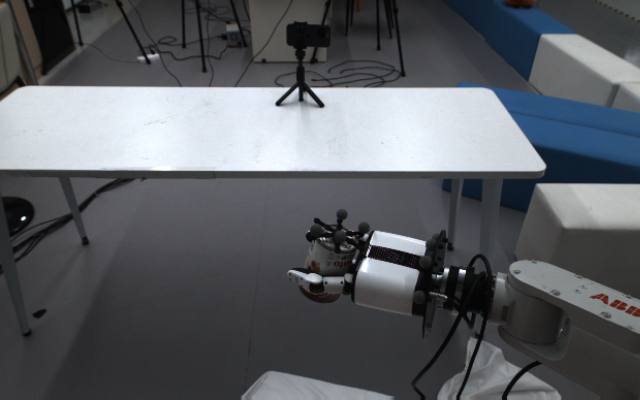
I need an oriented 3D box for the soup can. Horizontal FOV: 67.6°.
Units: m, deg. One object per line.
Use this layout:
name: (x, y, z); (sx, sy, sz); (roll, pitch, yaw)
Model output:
soup can: (0.013, 0.095, 0.727); (0.067, 0.101, 0.067); (13, 30, -8)
